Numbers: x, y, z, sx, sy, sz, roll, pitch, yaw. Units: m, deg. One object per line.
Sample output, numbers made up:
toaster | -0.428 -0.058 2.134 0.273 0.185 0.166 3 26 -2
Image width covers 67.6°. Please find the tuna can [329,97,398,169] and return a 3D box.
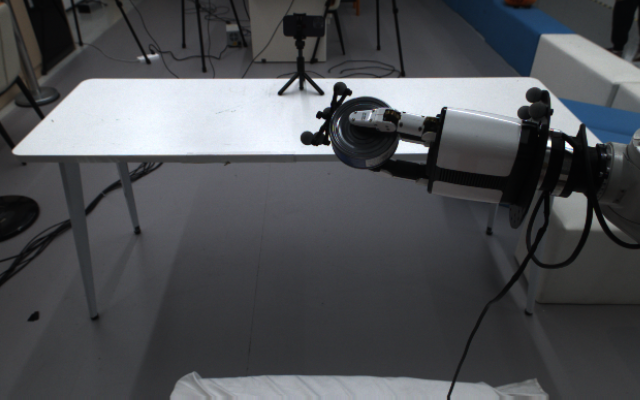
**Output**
tuna can | 0.057 -0.085 0.598 0.085 0.034 0.085 -2 71 5
